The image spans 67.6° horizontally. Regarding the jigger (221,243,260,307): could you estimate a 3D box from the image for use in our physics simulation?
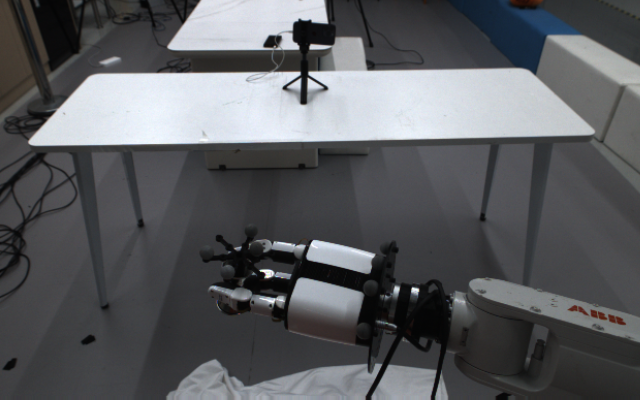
[{"bbox_3d":[-0.108,0.109,0.624,0.043,0.071,0.043,10,36,-7],"label":"jigger"}]
